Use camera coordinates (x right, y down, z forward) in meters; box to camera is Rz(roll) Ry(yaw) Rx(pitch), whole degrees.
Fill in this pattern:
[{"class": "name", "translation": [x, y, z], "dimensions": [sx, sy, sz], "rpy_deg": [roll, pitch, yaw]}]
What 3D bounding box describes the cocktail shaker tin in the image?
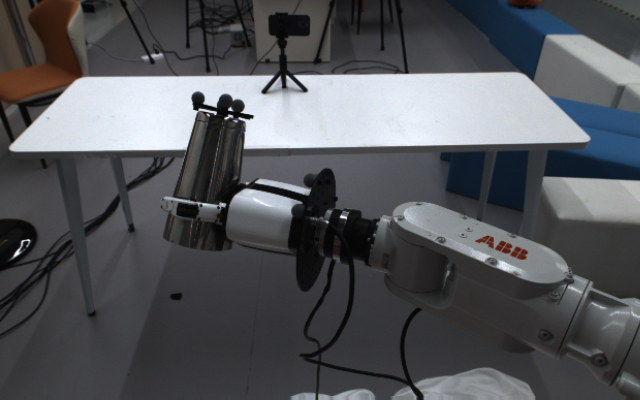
[{"class": "cocktail shaker tin", "translation": [-0.147, -0.026, 0.646], "dimensions": [0.093, 0.170, 0.093], "rpy_deg": [12, 5, -1]}]
